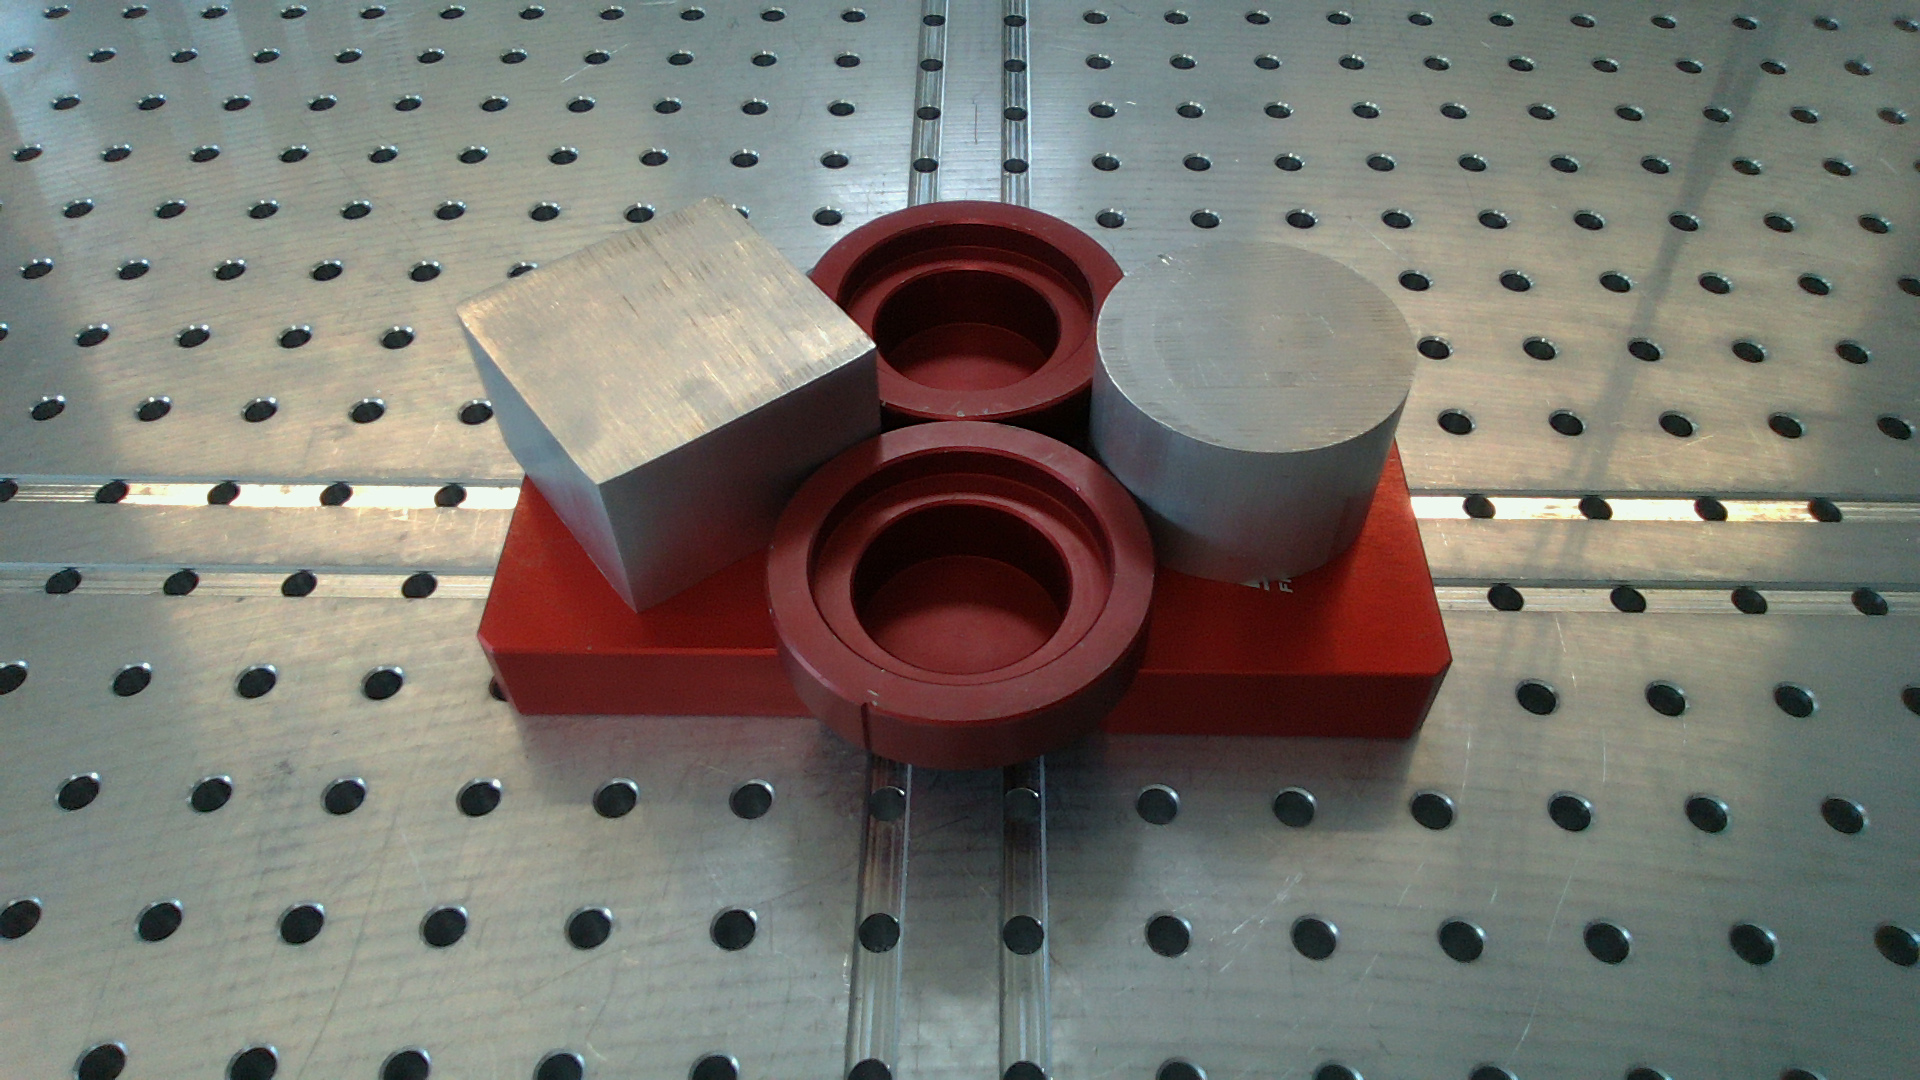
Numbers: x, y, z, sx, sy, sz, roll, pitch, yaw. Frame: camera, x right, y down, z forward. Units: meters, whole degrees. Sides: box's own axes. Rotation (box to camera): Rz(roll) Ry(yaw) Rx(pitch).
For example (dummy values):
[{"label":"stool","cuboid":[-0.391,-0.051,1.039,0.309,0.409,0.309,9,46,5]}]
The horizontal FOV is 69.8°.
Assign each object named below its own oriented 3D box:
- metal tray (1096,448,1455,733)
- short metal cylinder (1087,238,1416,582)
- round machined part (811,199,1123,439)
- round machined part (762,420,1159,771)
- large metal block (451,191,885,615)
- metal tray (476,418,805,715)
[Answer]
[{"label":"metal tray","cuboid":[0.081,-0.008,0.396,0.090,0.030,0.130,1,50,1]},{"label":"short metal cylinder","cuboid":[0.075,-0.036,0.368,0.080,0.050,0.080,0,50,0]},{"label":"round machined part","cuboid":[0.002,-0.058,0.420,0.098,0.042,0.098,0,50,0]},{"label":"round machined part","cuboid":[0.000,0.018,0.356,0.098,0.042,0.098,0,50,0]},{"label":"large metal block","cuboid":[-0.076,-0.040,0.372,0.080,0.050,0.080,-30,56,-22]},{"label":"metal tray","cuboid":[-0.078,-0.012,0.401,0.090,0.030,0.130,1,50,0]}]
